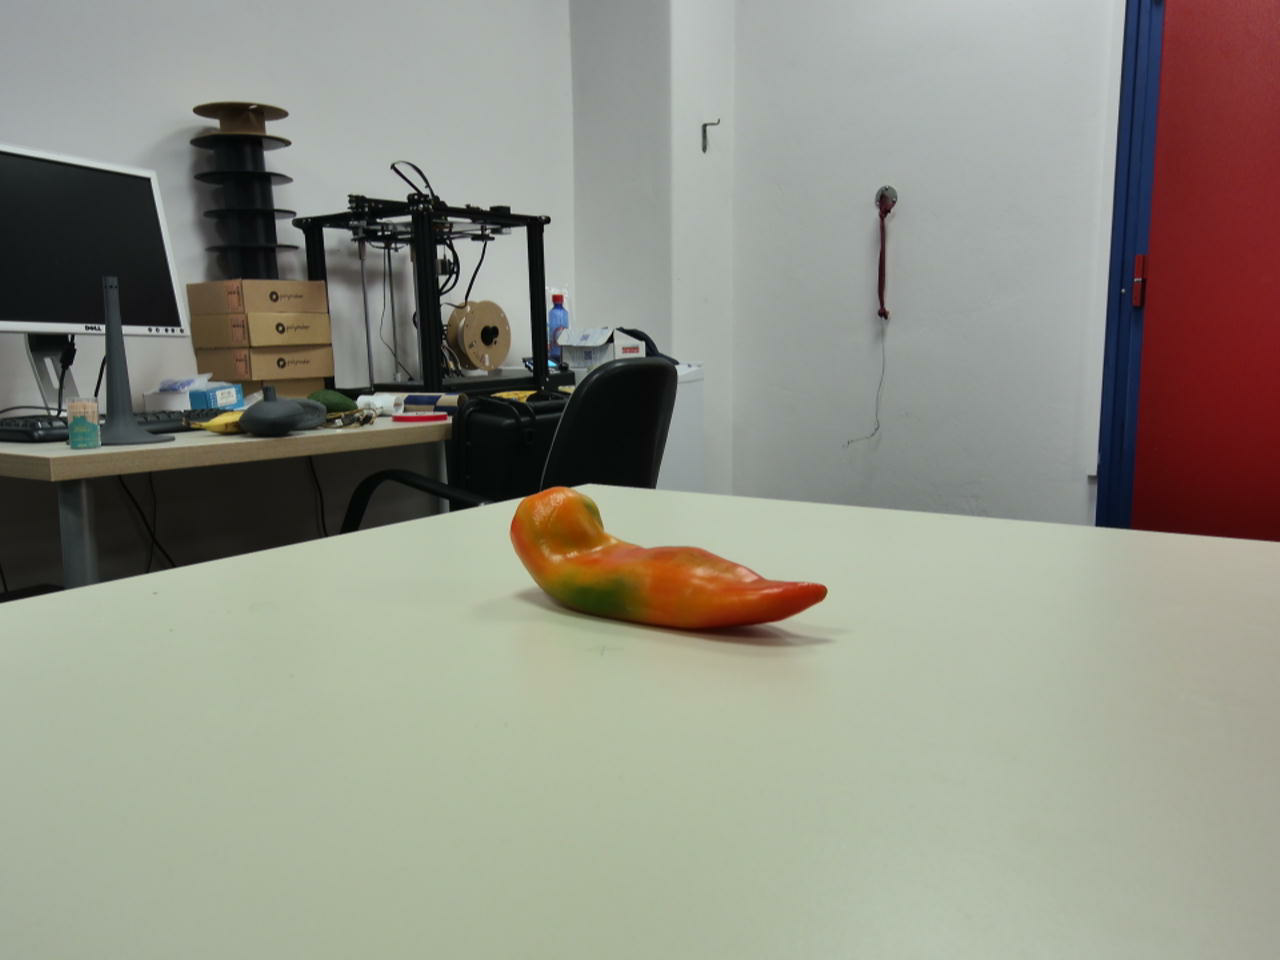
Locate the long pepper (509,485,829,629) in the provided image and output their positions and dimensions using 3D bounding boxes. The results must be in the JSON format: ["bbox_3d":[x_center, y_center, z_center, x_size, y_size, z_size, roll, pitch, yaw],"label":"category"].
[{"bbox_3d":[0.007,0.042,0.541,0.199,0.065,0.066,6,7,41],"label":"long pepper"}]
